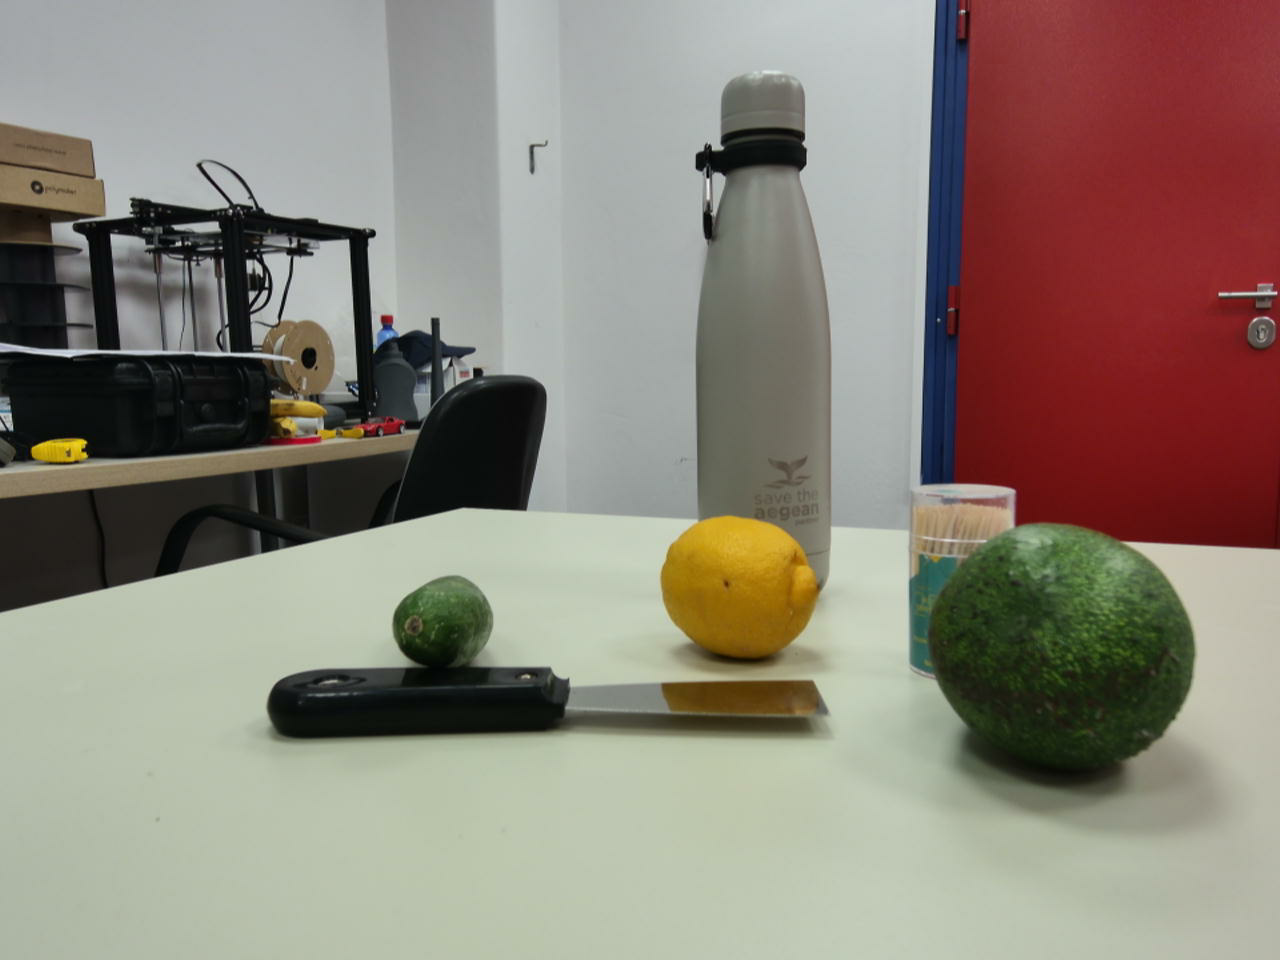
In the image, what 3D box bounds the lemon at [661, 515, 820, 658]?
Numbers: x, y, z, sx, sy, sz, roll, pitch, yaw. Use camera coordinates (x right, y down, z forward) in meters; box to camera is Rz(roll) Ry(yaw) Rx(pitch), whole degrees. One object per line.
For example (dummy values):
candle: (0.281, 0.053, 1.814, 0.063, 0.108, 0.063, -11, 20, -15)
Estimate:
lemon: (0.042, 0.046, 0.432, 0.061, 0.059, 0.067, -1, 4, -23)
